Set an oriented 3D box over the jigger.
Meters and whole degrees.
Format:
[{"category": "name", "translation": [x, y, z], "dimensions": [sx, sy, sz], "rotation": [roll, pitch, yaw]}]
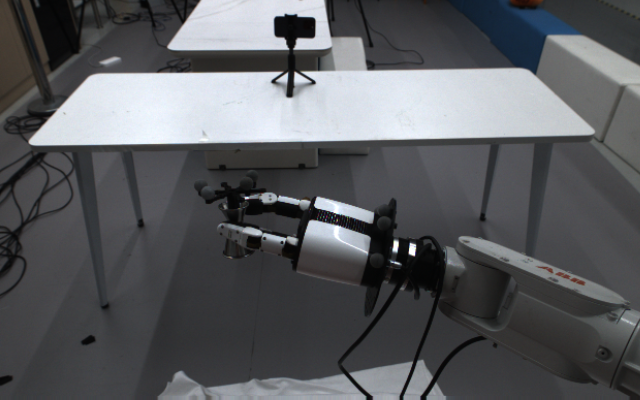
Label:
[{"category": "jigger", "translation": [-0.110, 0.038, 0.640], "dimensions": [0.043, 0.071, 0.043], "rotation": [-2, 19, 1]}]
